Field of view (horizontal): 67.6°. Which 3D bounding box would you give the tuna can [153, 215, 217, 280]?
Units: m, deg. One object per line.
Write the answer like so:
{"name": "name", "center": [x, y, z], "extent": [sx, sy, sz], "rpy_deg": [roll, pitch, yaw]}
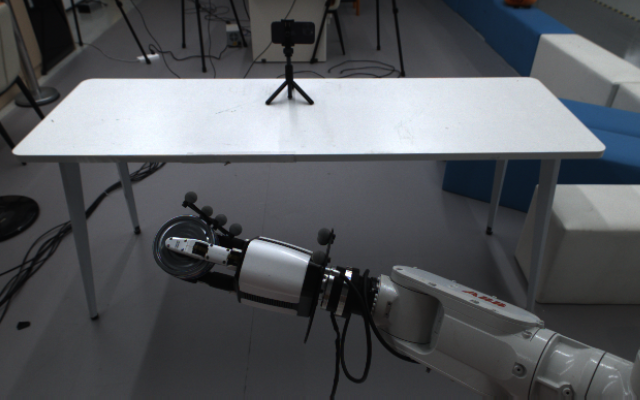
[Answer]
{"name": "tuna can", "center": [-0.180, 0.065, 0.662], "extent": [0.085, 0.034, 0.085], "rpy_deg": [0, 74, -1]}
